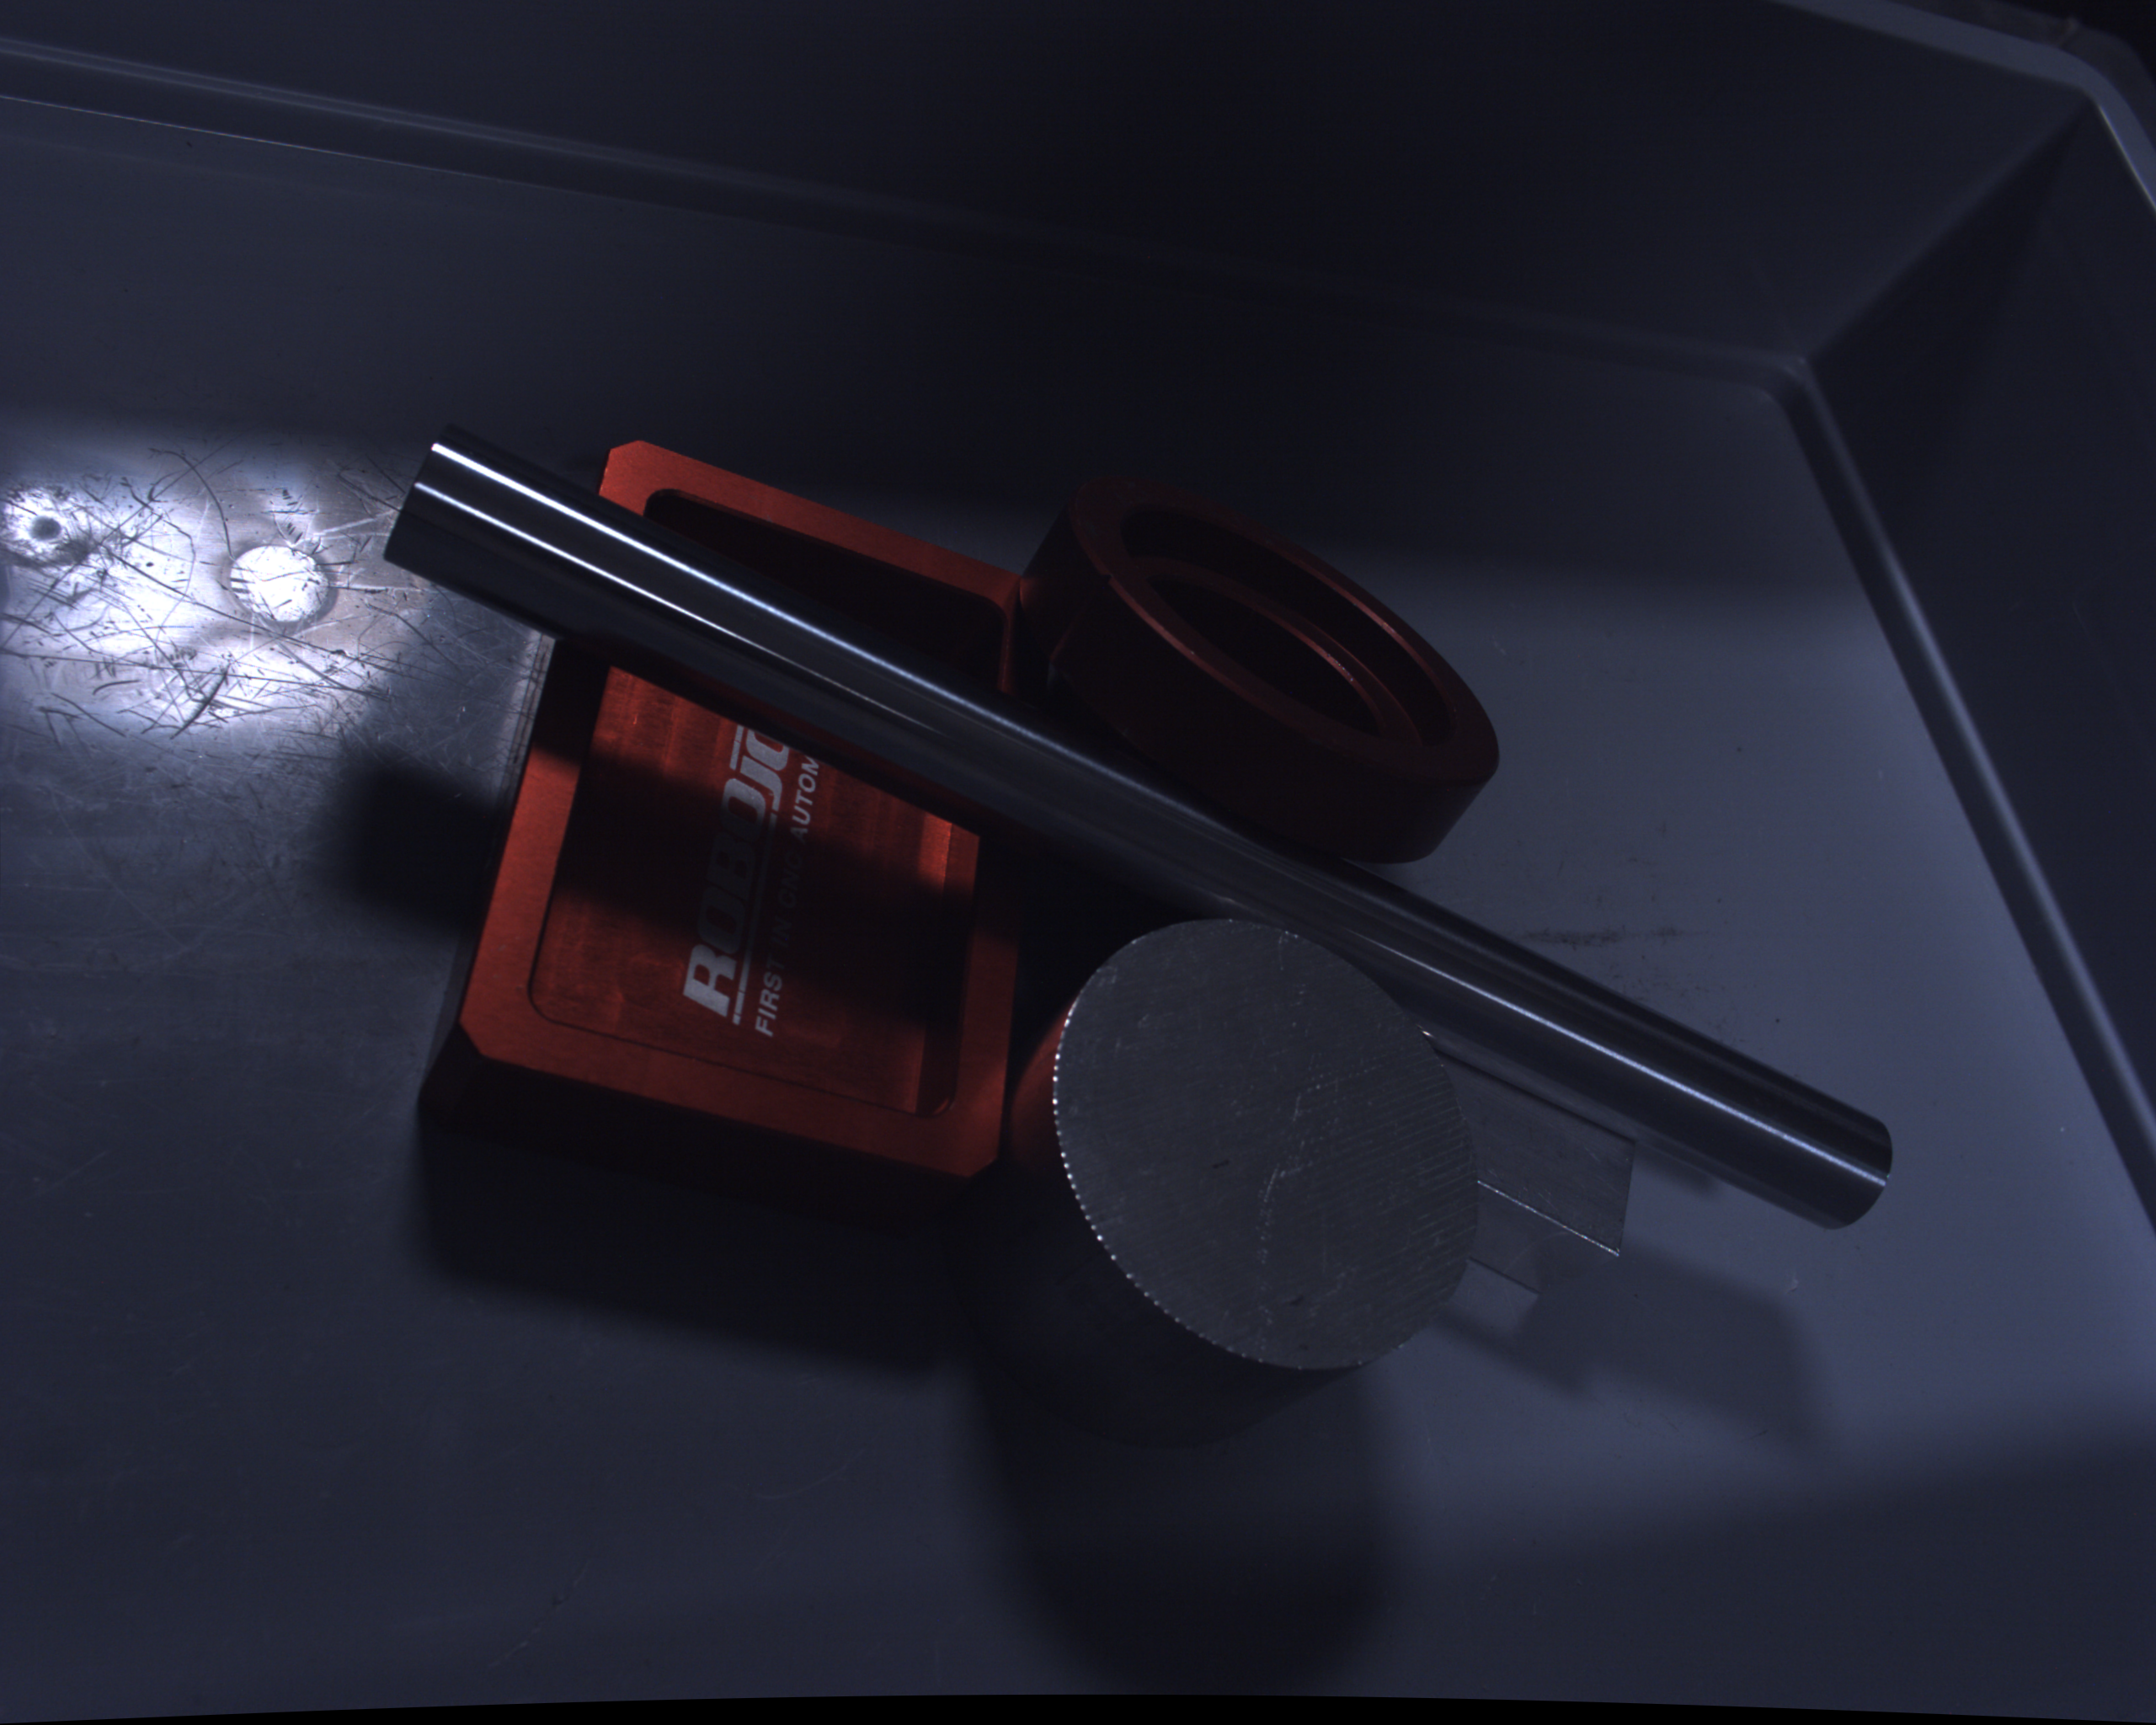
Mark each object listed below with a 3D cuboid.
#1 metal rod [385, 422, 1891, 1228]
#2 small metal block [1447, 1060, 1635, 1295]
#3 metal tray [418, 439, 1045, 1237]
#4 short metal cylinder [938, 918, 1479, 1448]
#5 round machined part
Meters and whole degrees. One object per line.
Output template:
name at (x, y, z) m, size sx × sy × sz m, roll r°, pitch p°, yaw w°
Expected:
metal rod at (0.024, 0.001, 0.380) m, size 0.302 × 0.025 × 0.025 m, roll 25°, pitch 53°, yaw -16°
small metal block at (0.084, 0.051, 0.419) m, size 0.050 × 0.025 × 0.050 m, roll 28°, pitch 52°, yaw -11°
metal tray at (-0.056, -0.007, 0.374) m, size 0.091 × 0.030 × 0.130 m, roll 17°, pitch 55°, yaw -19°
short metal cylinder at (0.022, 0.056, 0.366) m, size 0.081 × 0.050 × 0.080 m, roll 14°, pitch 56°, yaw -21°
round machined part at (0.031, -0.032, 0.415) m, size 0.098 × 0.042 × 0.098 m, roll 26°, pitch 27°, yaw -14°
